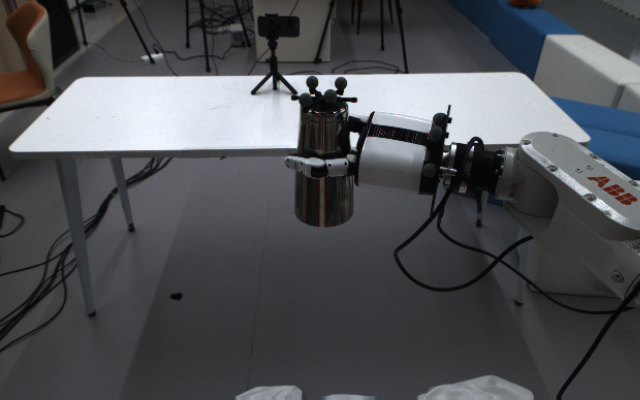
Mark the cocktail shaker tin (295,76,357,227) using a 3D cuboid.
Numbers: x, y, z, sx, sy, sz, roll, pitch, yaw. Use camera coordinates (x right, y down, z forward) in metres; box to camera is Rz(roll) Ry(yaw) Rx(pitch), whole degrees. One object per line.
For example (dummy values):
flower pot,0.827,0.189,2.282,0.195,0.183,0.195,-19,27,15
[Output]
cocktail shaker tin,0.007,-0.058,0.697,0.093,0.170,0.093,0,33,0
